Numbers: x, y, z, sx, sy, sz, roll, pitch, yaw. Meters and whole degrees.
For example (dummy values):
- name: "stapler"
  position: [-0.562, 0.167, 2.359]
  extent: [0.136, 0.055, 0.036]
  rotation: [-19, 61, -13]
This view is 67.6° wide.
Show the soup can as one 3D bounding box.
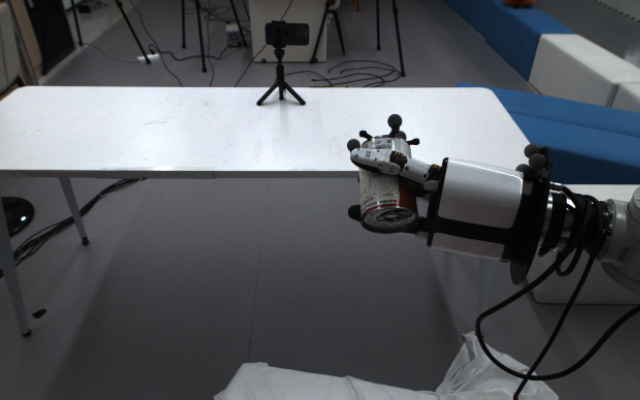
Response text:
- name: "soup can"
  position: [0.083, -0.019, 0.589]
  extent: [0.067, 0.067, 0.101]
  rotation: [1, 62, -2]
